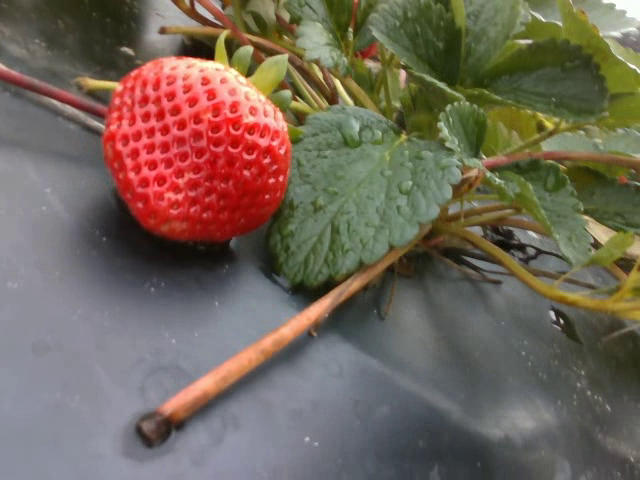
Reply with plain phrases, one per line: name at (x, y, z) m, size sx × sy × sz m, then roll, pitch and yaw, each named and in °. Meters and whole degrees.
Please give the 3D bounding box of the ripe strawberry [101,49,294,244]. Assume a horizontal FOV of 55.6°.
ripe strawberry at (-0.036, -0.027, 0.169) m, size 0.061 × 0.065 × 0.050 m, roll 35°, pitch -31°, yaw -25°
